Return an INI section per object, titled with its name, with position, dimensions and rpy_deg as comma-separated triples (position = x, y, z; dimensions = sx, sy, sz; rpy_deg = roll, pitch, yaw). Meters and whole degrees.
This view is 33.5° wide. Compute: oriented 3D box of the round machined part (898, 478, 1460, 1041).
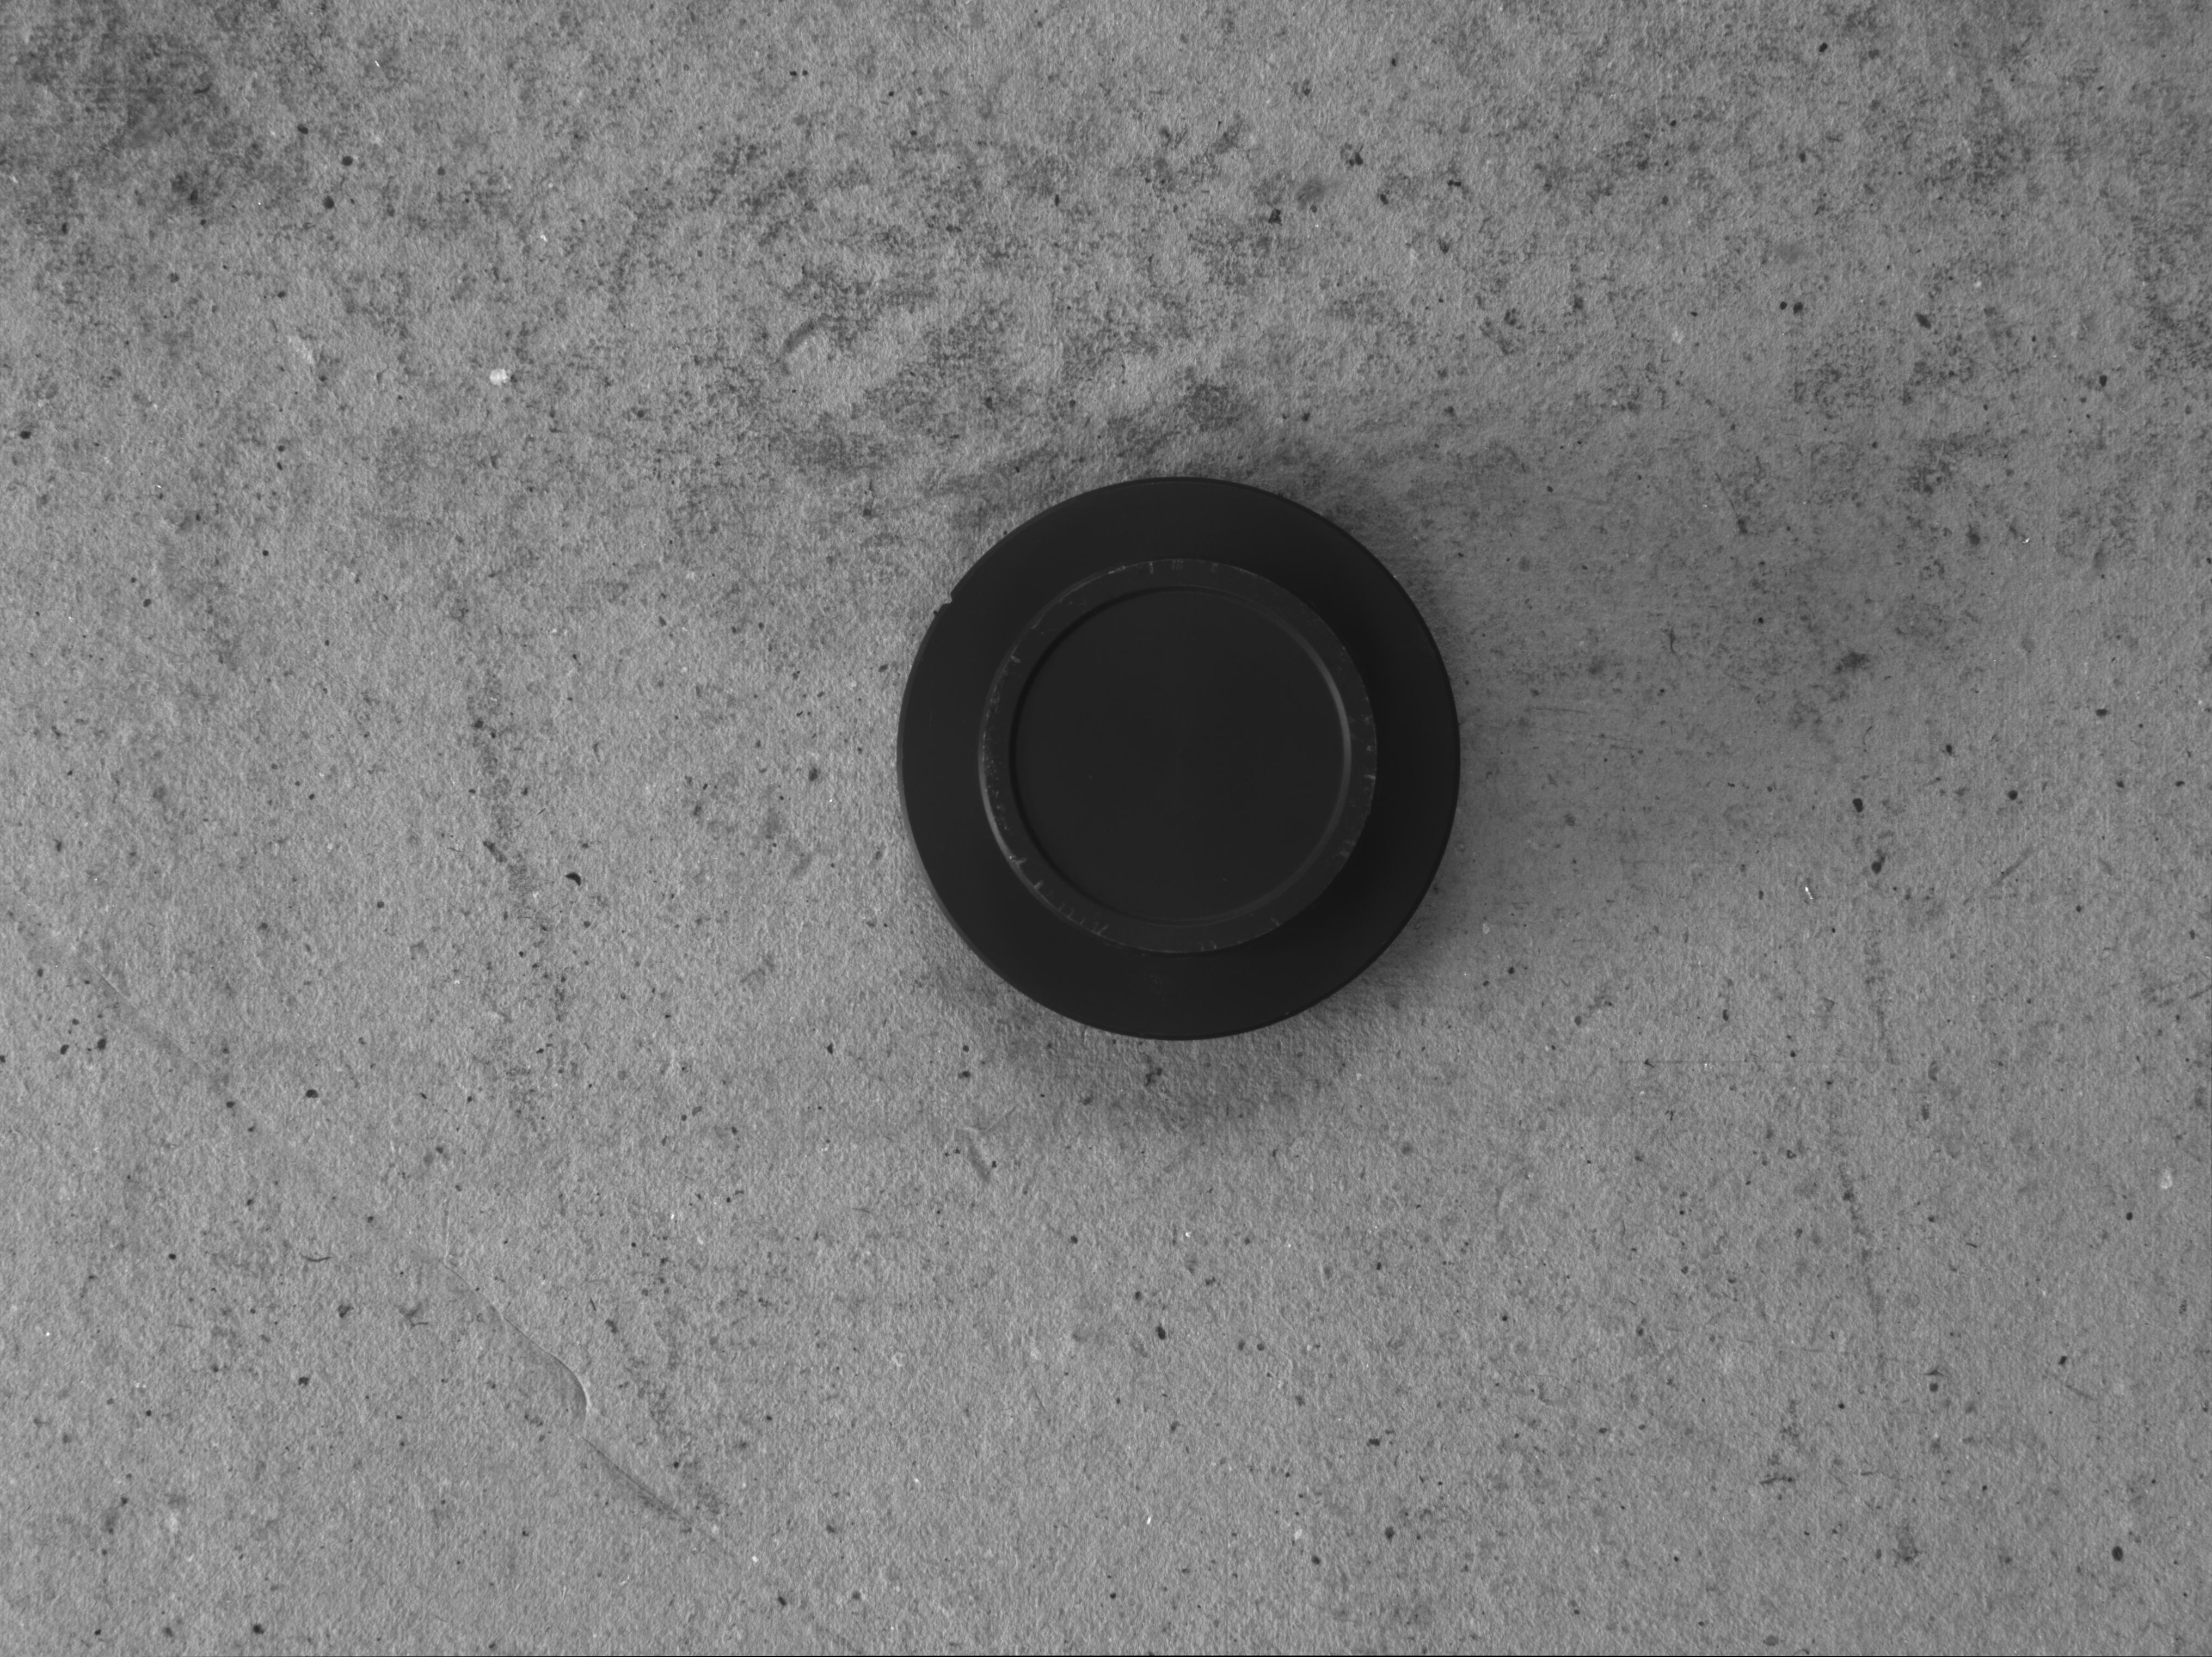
[round machined part]
position = 0.013, -0.012, 0.638
dimensions = 0.098, 0.042, 0.098
rpy_deg = 0, 90, 0
